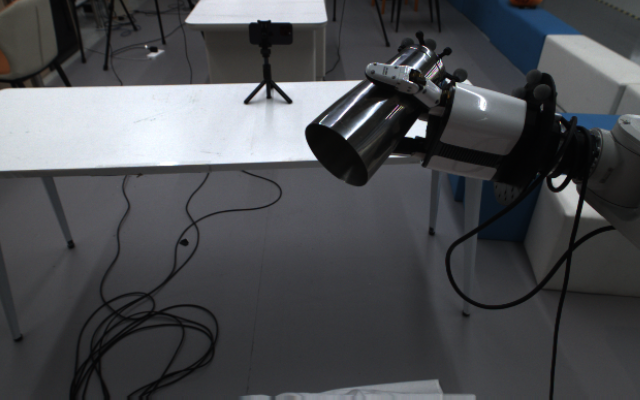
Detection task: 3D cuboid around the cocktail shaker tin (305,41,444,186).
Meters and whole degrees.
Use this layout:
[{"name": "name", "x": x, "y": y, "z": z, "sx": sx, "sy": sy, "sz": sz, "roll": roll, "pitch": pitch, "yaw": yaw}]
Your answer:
[{"name": "cocktail shaker tin", "x": 0.073, "y": -0.111, "z": 0.568, "sx": 0.093, "sy": 0.093, "sz": 0.170, "roll": 32, "pitch": 66, "yaw": 35}]
